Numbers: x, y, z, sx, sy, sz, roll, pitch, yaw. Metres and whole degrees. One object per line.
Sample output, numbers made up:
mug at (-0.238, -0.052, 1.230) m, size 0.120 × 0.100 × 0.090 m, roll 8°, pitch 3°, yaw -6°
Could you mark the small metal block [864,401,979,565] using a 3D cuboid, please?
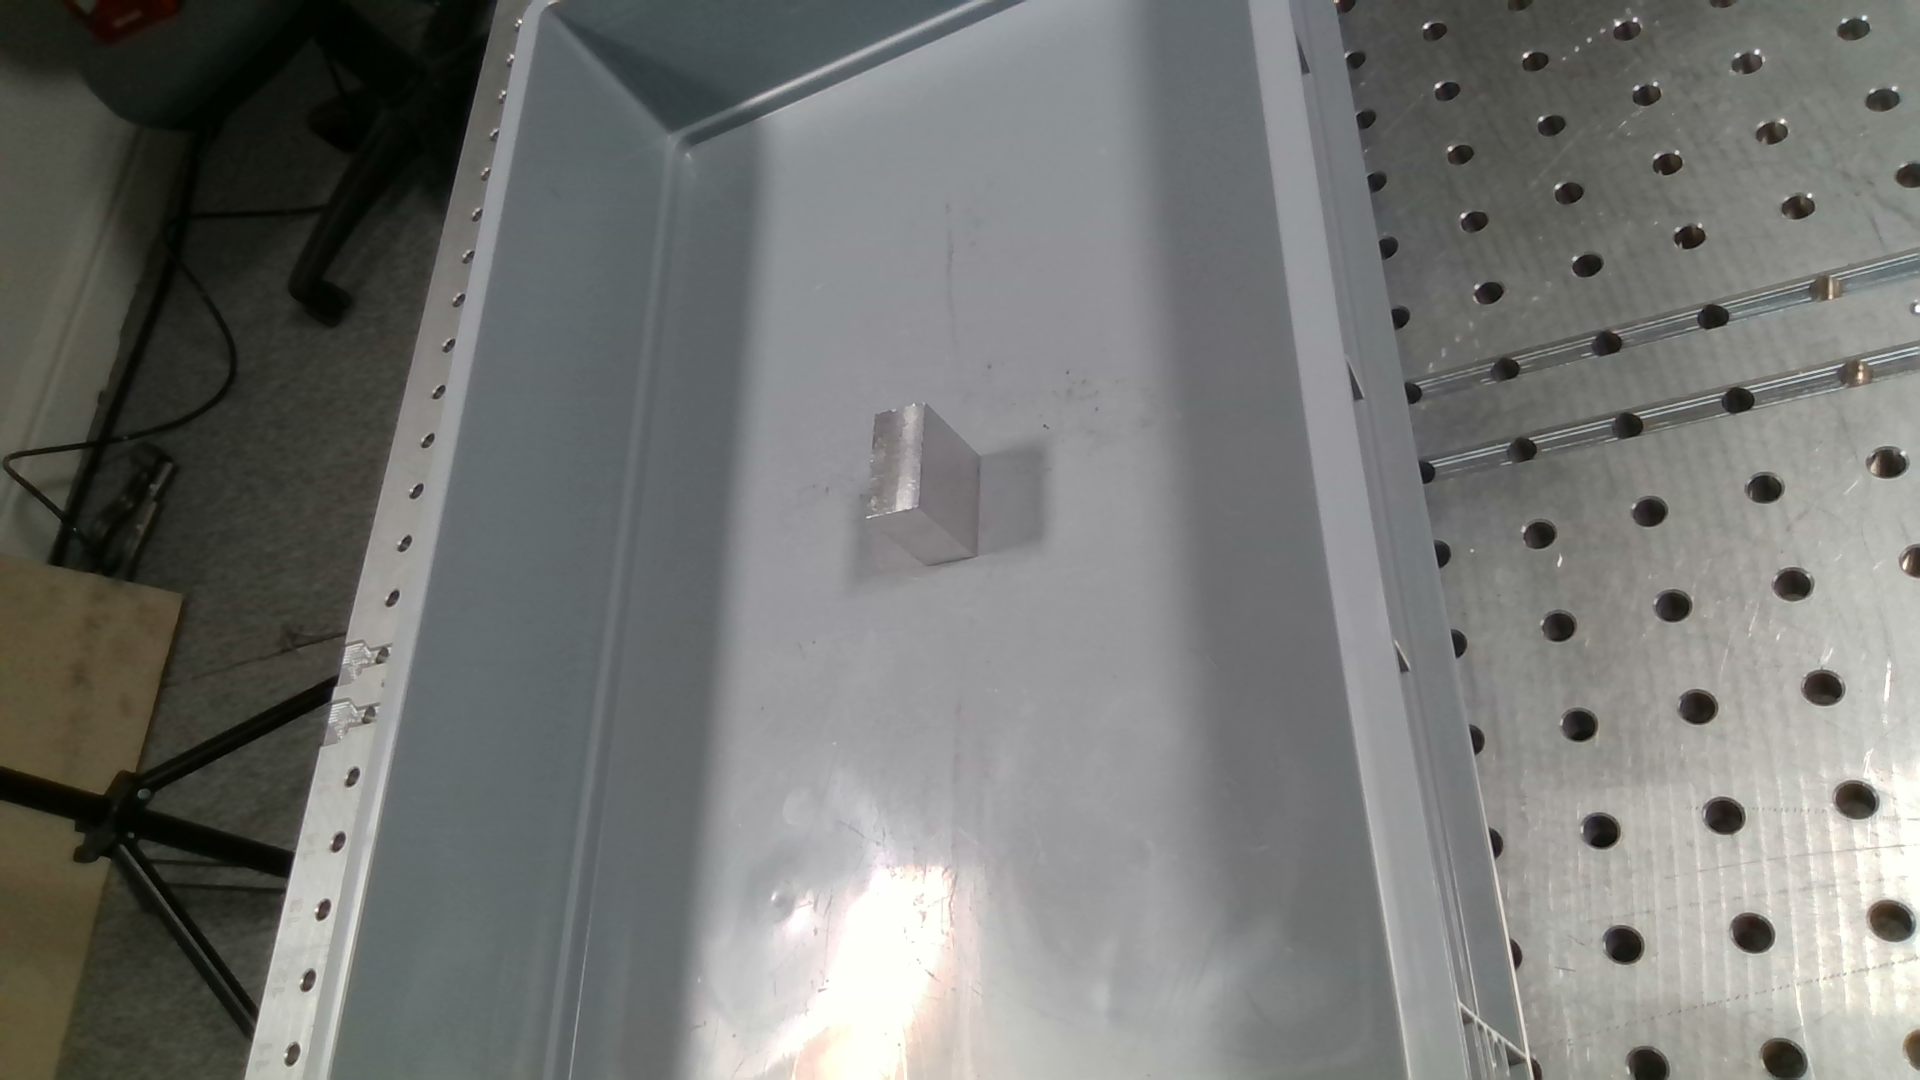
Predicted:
small metal block at (-0.015, -0.023, 0.587) m, size 0.025 × 0.050 × 0.050 m, roll -11°, pitch 60°, yaw 26°
